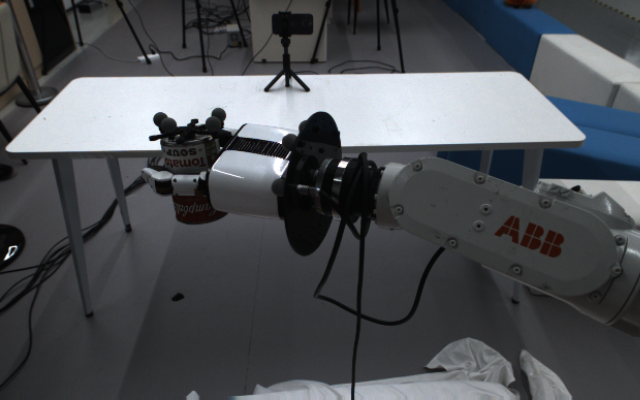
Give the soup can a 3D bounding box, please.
[{"bbox_3d":[-0.147,-0.030,0.583,0.067,0.101,0.067,-4,26,2],"label":"soup can"}]
